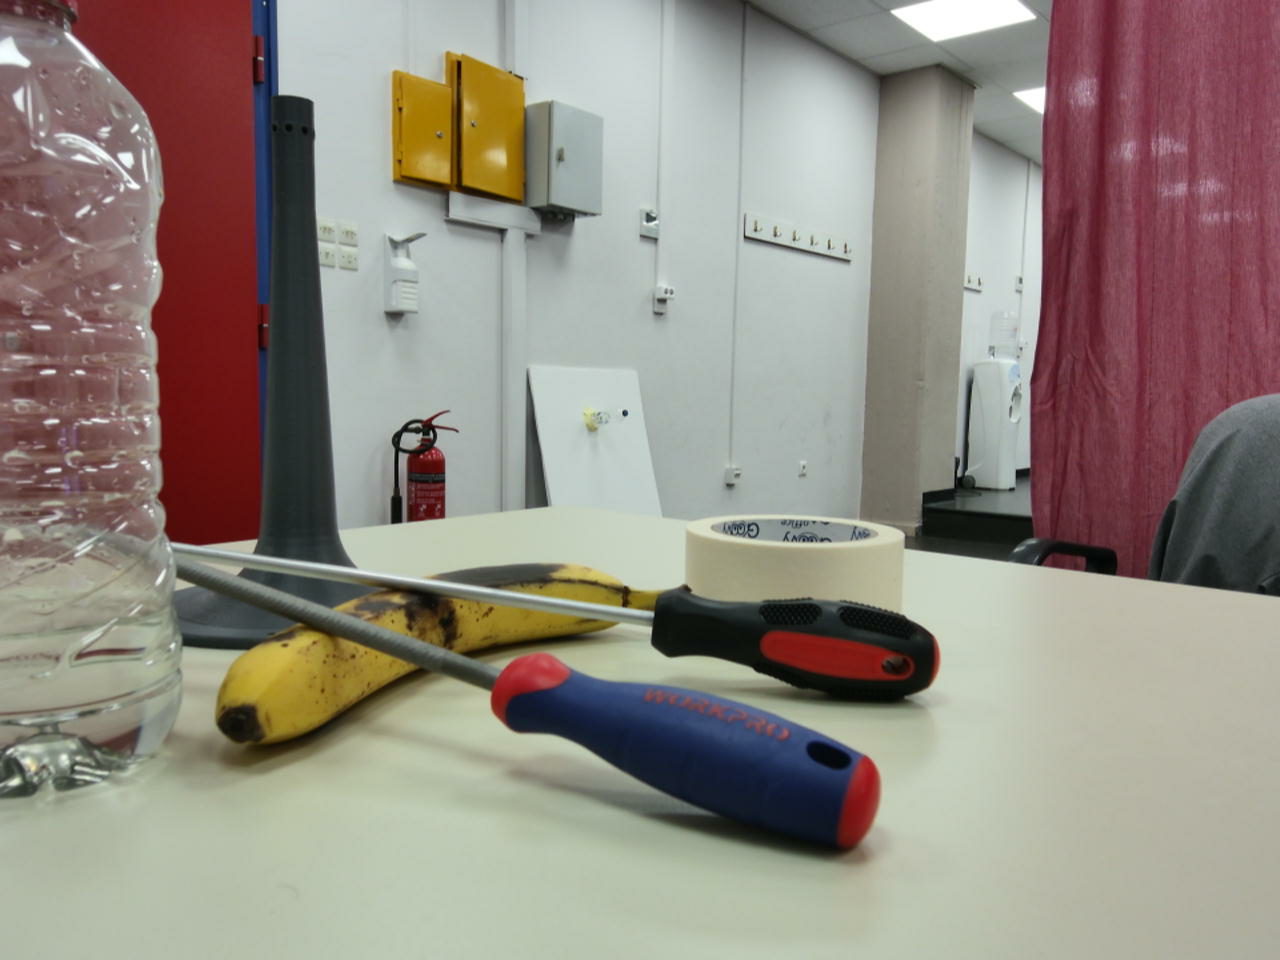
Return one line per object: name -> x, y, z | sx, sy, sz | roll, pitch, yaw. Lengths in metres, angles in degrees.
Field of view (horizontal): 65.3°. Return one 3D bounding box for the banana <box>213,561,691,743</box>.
banana -> -0.079, 0.061, 0.405 | 0.084, 0.037, 0.222 | 3, 5, 39
